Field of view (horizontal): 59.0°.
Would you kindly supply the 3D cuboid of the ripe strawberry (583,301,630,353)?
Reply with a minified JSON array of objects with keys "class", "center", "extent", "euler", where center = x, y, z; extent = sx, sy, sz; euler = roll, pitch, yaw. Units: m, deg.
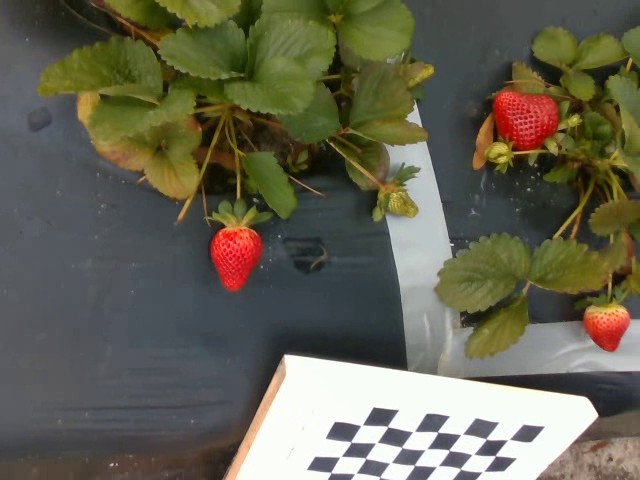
[{"class":"ripe strawberry","center":[0.230,0.068,0.463],"extent":[0.039,0.047,0.041],"euler":[-10,31,14]}]

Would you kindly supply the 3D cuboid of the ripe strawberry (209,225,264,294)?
[{"class":"ripe strawberry","center":[-0.051,0.010,0.350],"extent":[0.036,0.046,0.040],"euler":[7,-9,2]}]

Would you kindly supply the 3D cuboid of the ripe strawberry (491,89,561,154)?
[{"class":"ripe strawberry","center":[0.146,-0.091,0.403],"extent":[0.062,0.043,0.043],"euler":[34,-57,-19]}]
